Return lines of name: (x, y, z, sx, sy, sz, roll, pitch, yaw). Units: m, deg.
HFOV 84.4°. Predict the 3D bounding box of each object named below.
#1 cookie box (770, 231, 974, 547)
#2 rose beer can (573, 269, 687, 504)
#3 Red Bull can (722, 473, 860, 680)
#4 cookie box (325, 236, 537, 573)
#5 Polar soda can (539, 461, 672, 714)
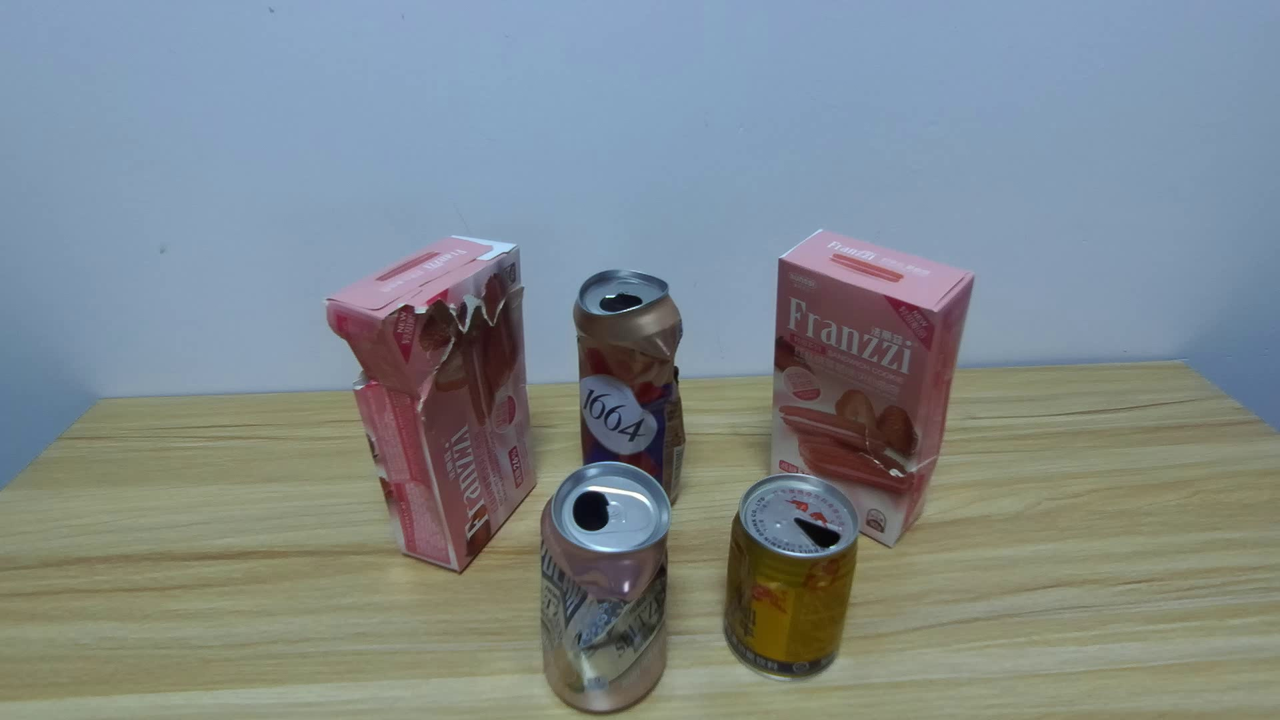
cookie box: (0.138, 0.025, 0.434, 0.104, 0.188, 0.049, 26, 47, 36)
rose beer can: (-0.006, 0.025, 0.457, 0.073, 0.162, 0.068, 2, 33, 7)
Red Bull can: (0.080, 0.115, 0.375, 0.069, 0.092, 0.069, -1, 31, 1)
cookie box: (-0.111, 0.030, 0.432, 0.059, 0.186, 0.105, 12, 34, 24)
Polar soda can: (-0.014, 0.117, 0.353, 0.067, 0.122, 0.070, -4, 31, -14)
